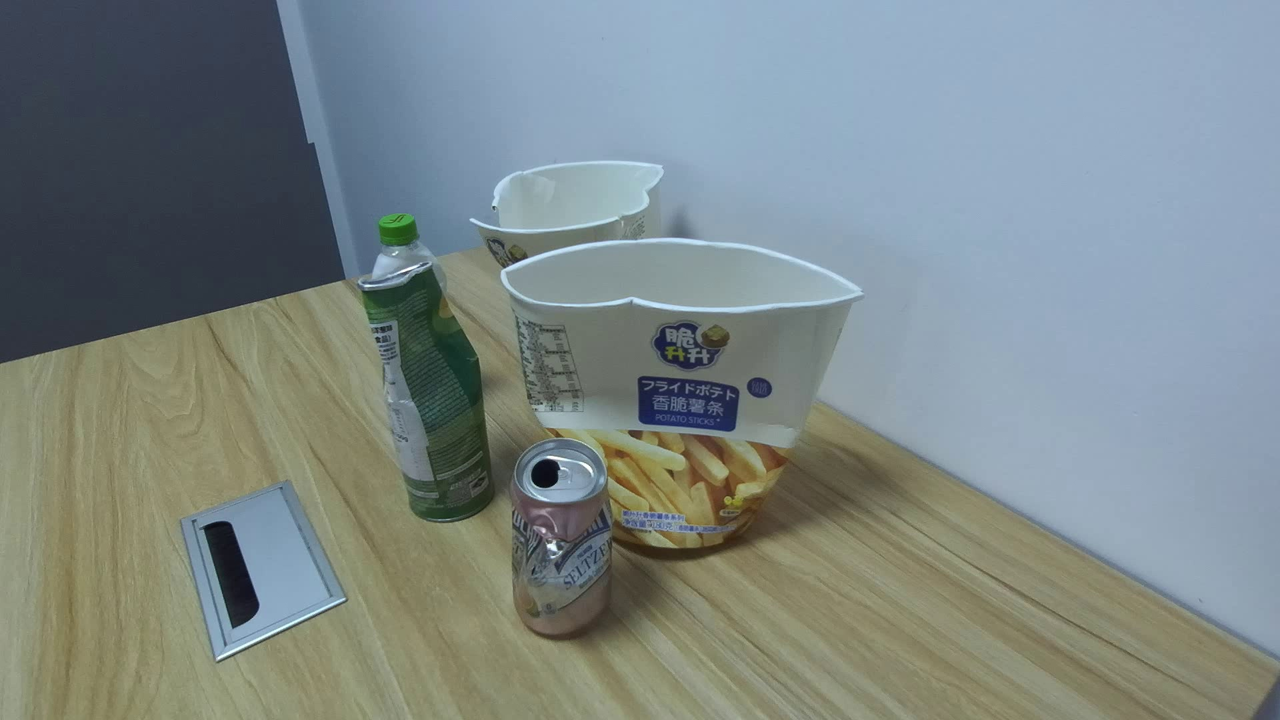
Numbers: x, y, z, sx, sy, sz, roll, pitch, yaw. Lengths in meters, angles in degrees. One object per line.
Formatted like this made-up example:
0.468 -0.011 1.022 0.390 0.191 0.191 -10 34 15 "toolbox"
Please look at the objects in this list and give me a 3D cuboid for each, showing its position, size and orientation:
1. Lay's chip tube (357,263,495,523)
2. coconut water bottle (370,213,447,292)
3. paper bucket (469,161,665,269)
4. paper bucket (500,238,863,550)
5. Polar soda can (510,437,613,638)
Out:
-0.163 0.023 0.541 0.070 0.199 0.079 17 33 41 "Lay's chip tube"
-0.202 -0.040 0.650 0.067 0.187 0.067 -5 25 2 "coconut water bottle"
-0.053 -0.075 0.692 0.145 0.197 0.202 0 30 6 "paper bucket"
0.027 0.023 0.524 0.218 0.199 0.147 -13 33 -19 "paper bucket"
-0.049 0.117 0.456 0.067 0.122 0.071 0 32 -8 "Polar soda can"
